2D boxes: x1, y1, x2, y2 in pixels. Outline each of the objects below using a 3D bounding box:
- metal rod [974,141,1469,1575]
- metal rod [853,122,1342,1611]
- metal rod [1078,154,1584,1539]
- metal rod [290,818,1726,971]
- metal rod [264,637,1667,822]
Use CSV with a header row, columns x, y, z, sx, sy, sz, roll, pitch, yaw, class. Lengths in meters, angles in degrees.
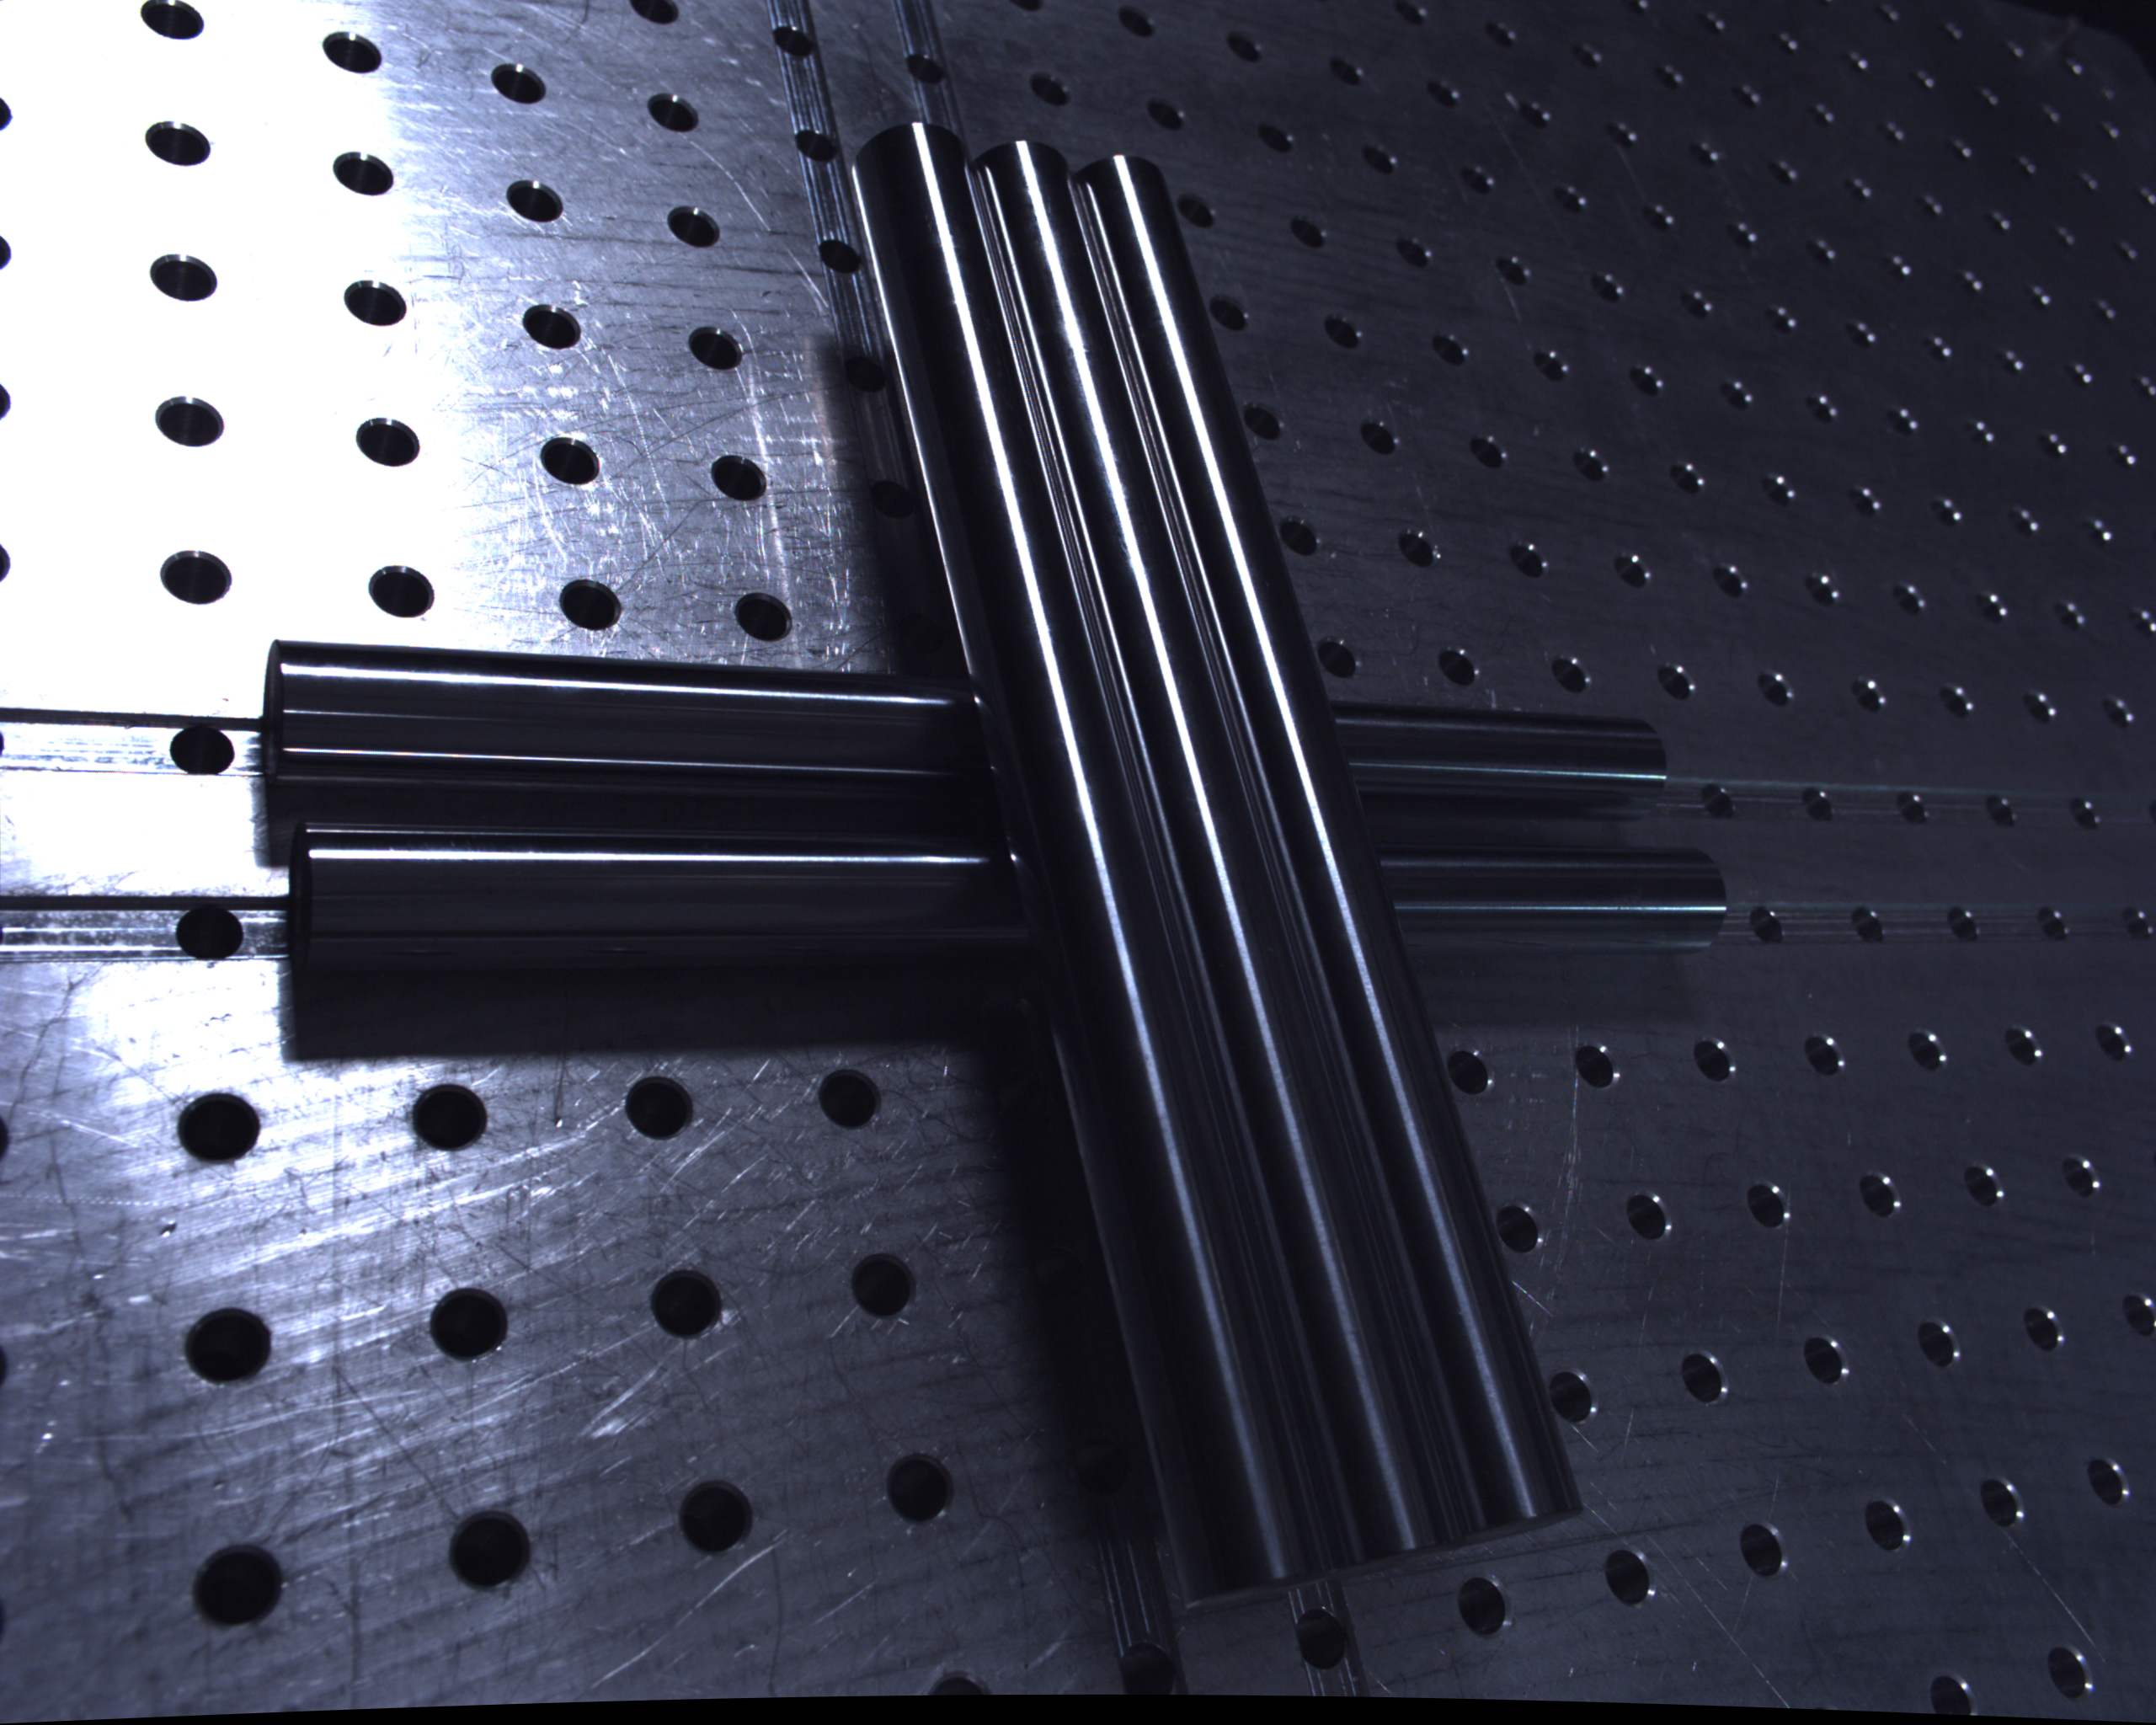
x,y,z,sx,sy,sz,roll,pitch,yaw,class
0.018,-0.019,0.399,0.025,0.025,0.299,1,61,-28,metal rod
-0.004,-0.019,0.387,0.025,0.025,0.299,1,61,-28,metal rod
0.040,-0.020,0.412,0.025,0.025,0.299,1,61,-28,metal rod
0.007,0.007,0.409,0.303,0.025,0.025,1,62,-28,metal rod
-0.003,-0.024,0.423,0.303,0.025,0.025,1,62,-28,metal rod
